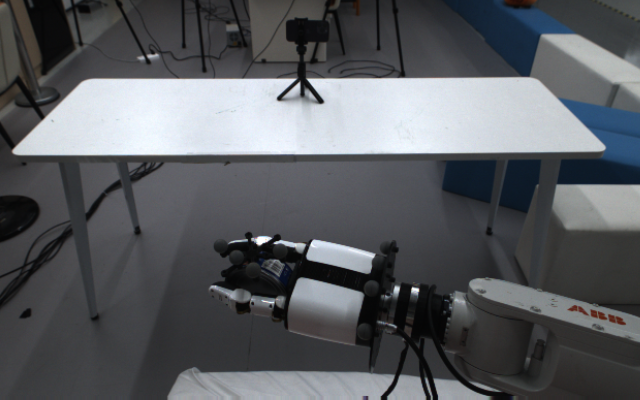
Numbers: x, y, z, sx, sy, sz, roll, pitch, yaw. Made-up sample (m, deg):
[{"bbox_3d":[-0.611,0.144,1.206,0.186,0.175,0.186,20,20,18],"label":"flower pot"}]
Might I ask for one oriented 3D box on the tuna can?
[{"bbox_3d":[-0.071,0.105,0.611,0.085,0.085,0.034,11,39,13],"label":"tuna can"}]
